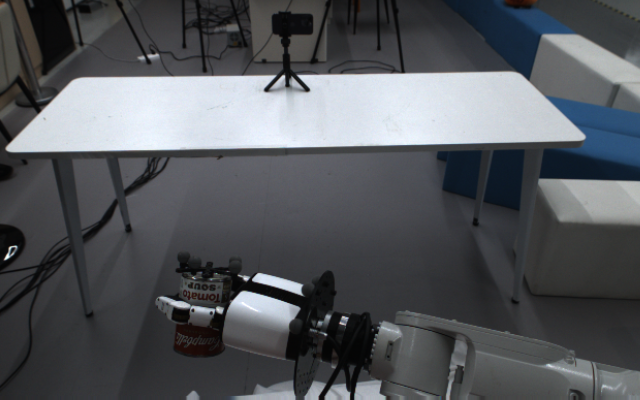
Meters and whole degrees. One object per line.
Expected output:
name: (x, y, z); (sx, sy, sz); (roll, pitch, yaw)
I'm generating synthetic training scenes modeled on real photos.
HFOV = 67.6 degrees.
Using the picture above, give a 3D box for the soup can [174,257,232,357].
soup can: (-0.153, 0.148, 0.639); (0.067, 0.101, 0.067); (7, 3, 0)
